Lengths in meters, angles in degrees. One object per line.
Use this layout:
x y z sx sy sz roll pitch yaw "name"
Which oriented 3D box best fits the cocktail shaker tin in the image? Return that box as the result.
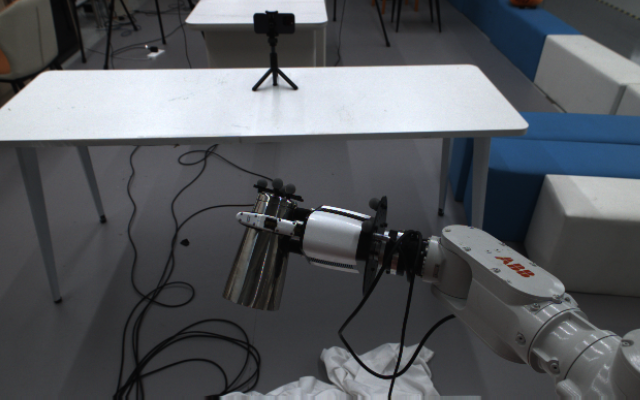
-0.088 0.078 0.769 0.093 0.170 0.093 15 -5 1 "cocktail shaker tin"
